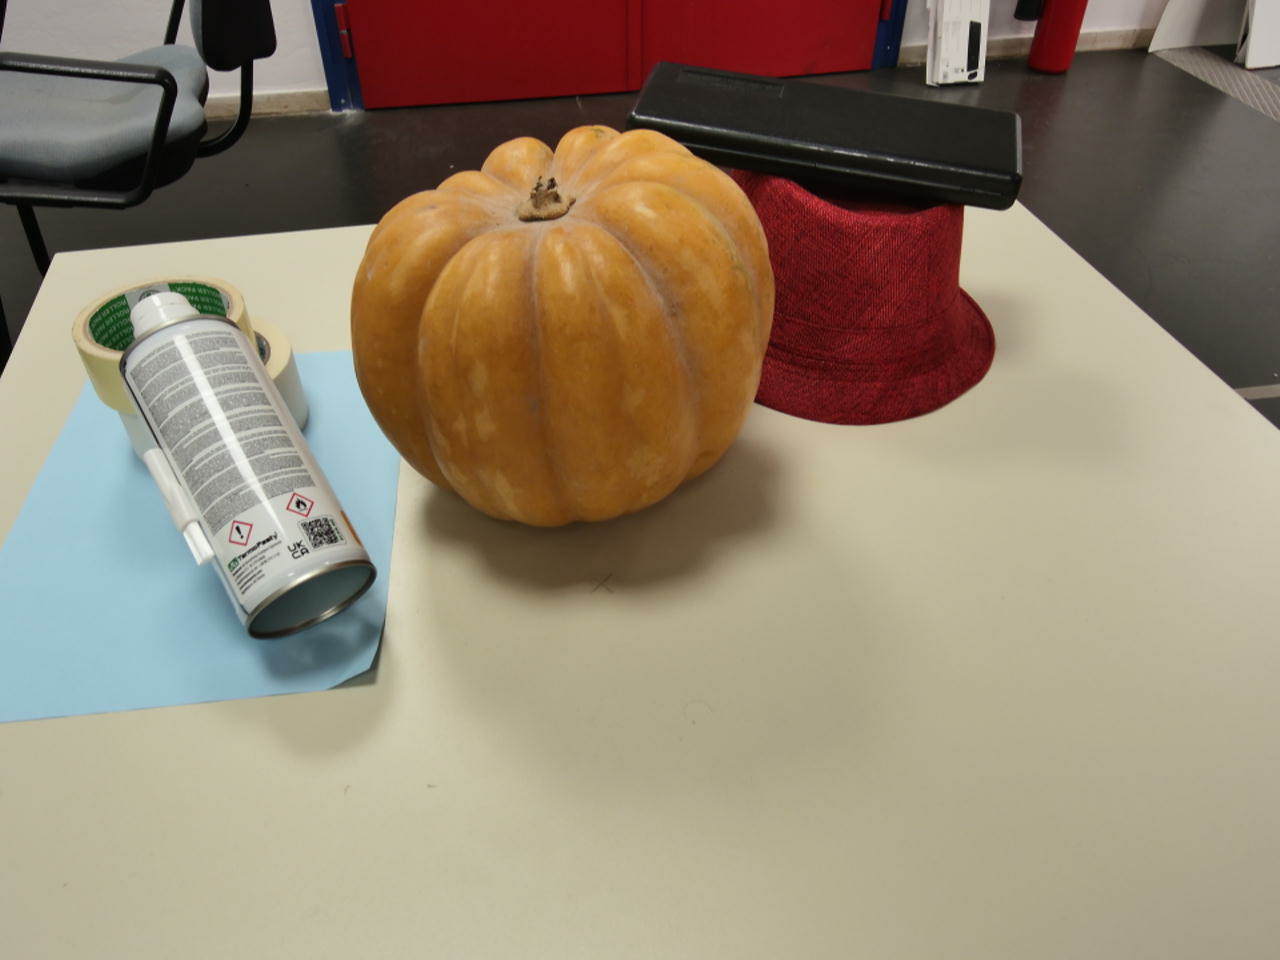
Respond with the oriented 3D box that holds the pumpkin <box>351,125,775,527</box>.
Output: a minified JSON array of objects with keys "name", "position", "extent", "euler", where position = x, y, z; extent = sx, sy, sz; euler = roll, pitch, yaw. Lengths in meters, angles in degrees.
[{"name":"pumpkin","position":[-0.039,-0.082,0.547],"extent":[0.230,0.194,0.230],"euler":[0,39,0]}]
